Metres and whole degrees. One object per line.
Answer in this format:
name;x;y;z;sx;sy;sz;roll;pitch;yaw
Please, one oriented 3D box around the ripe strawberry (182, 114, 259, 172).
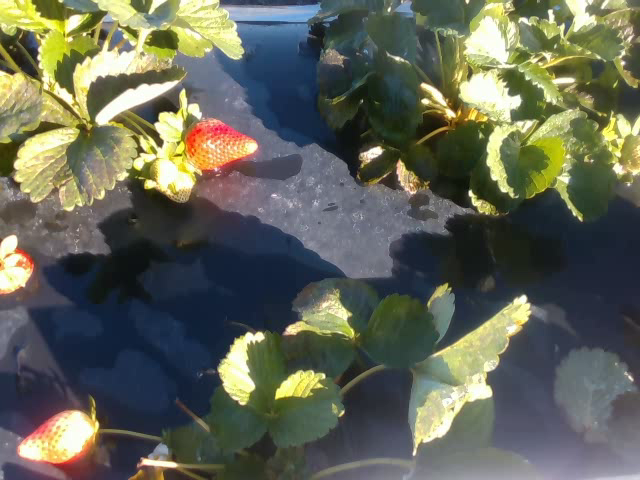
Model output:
ripe strawberry;-0.076;-0.074;0.477;0.064;0.050;0.052;4;3;7
